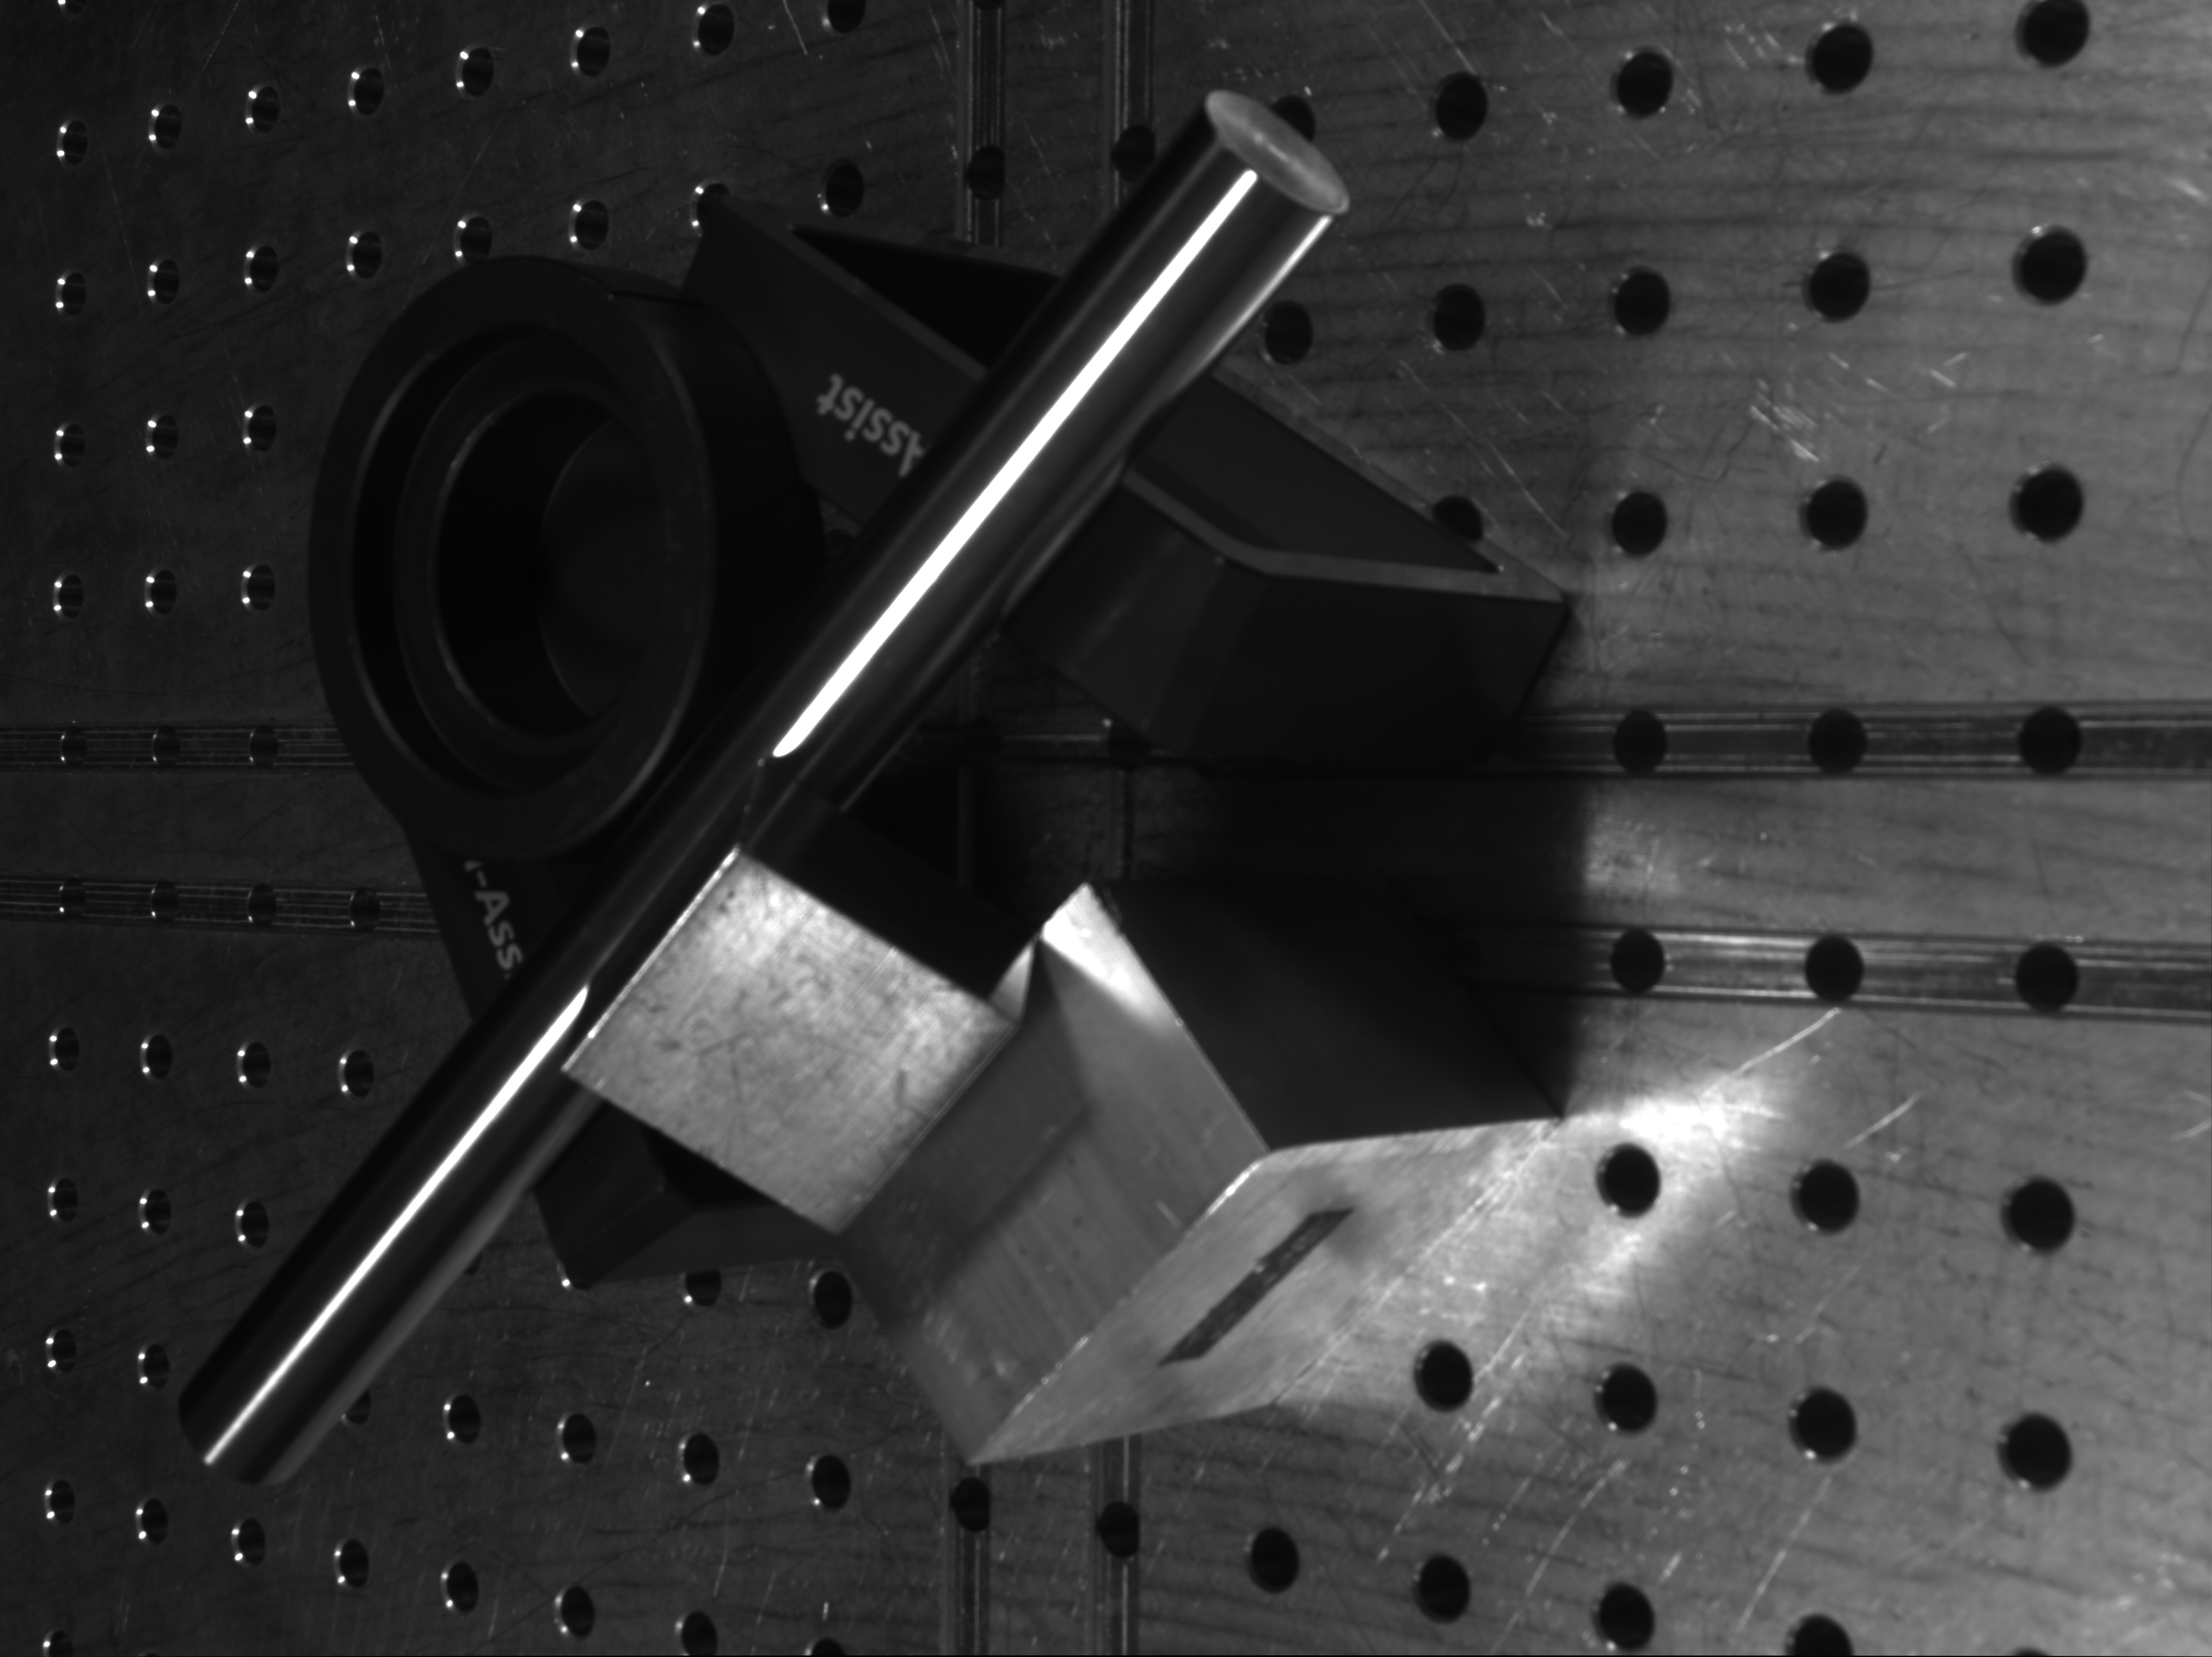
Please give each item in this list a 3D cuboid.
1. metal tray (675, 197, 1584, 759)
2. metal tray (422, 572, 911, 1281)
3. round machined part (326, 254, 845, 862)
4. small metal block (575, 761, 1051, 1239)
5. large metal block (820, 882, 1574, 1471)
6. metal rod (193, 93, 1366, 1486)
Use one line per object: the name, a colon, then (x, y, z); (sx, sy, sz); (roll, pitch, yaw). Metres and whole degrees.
metal tray: (0.002, -0.057, 0.594); (0.130, 0.090, 0.030); (38, 114, 33)
metal tray: (-0.073, 0.012, 0.657); (0.030, 0.090, 0.130); (-36, 68, 34)
round machined part: (-0.082, -0.043, 0.606); (0.098, 0.042, 0.098); (0, 90, 39)
small metal block: (-0.044, 0.026, 0.553); (0.050, 0.050, 0.025); (-50, 16, 28)
large metal block: (0.014, 0.054, 0.588); (0.080, 0.080, 0.050); (-49, 61, 28)
metal rod: (-0.062, 0.006, 0.573); (0.300, 0.025, 0.025); (-48, 62, 28)
